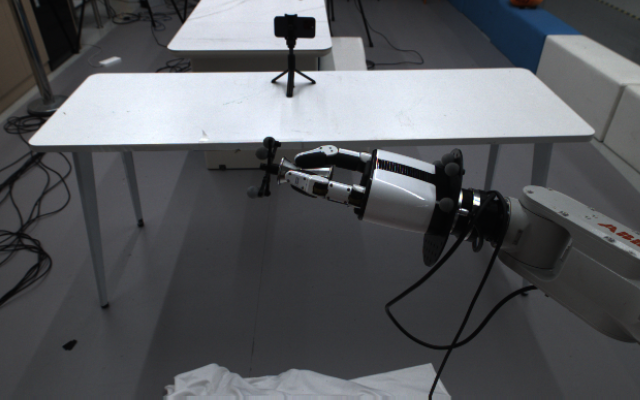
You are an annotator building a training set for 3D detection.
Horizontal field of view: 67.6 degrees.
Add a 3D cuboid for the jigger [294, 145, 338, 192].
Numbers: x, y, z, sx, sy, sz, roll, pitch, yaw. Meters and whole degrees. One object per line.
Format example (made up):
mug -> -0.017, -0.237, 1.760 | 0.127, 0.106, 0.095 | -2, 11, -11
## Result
jigger -> -0.013, -0.035, 0.647 | 0.071, 0.043, 0.043 | 12, 36, 5
